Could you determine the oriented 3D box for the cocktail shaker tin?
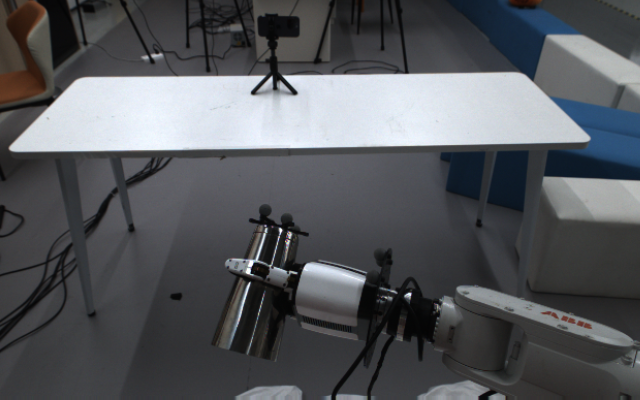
[{"bbox_3d":[-0.081,0.126,0.667,0.093,0.093,0.170,10,71,12],"label":"cocktail shaker tin"}]
